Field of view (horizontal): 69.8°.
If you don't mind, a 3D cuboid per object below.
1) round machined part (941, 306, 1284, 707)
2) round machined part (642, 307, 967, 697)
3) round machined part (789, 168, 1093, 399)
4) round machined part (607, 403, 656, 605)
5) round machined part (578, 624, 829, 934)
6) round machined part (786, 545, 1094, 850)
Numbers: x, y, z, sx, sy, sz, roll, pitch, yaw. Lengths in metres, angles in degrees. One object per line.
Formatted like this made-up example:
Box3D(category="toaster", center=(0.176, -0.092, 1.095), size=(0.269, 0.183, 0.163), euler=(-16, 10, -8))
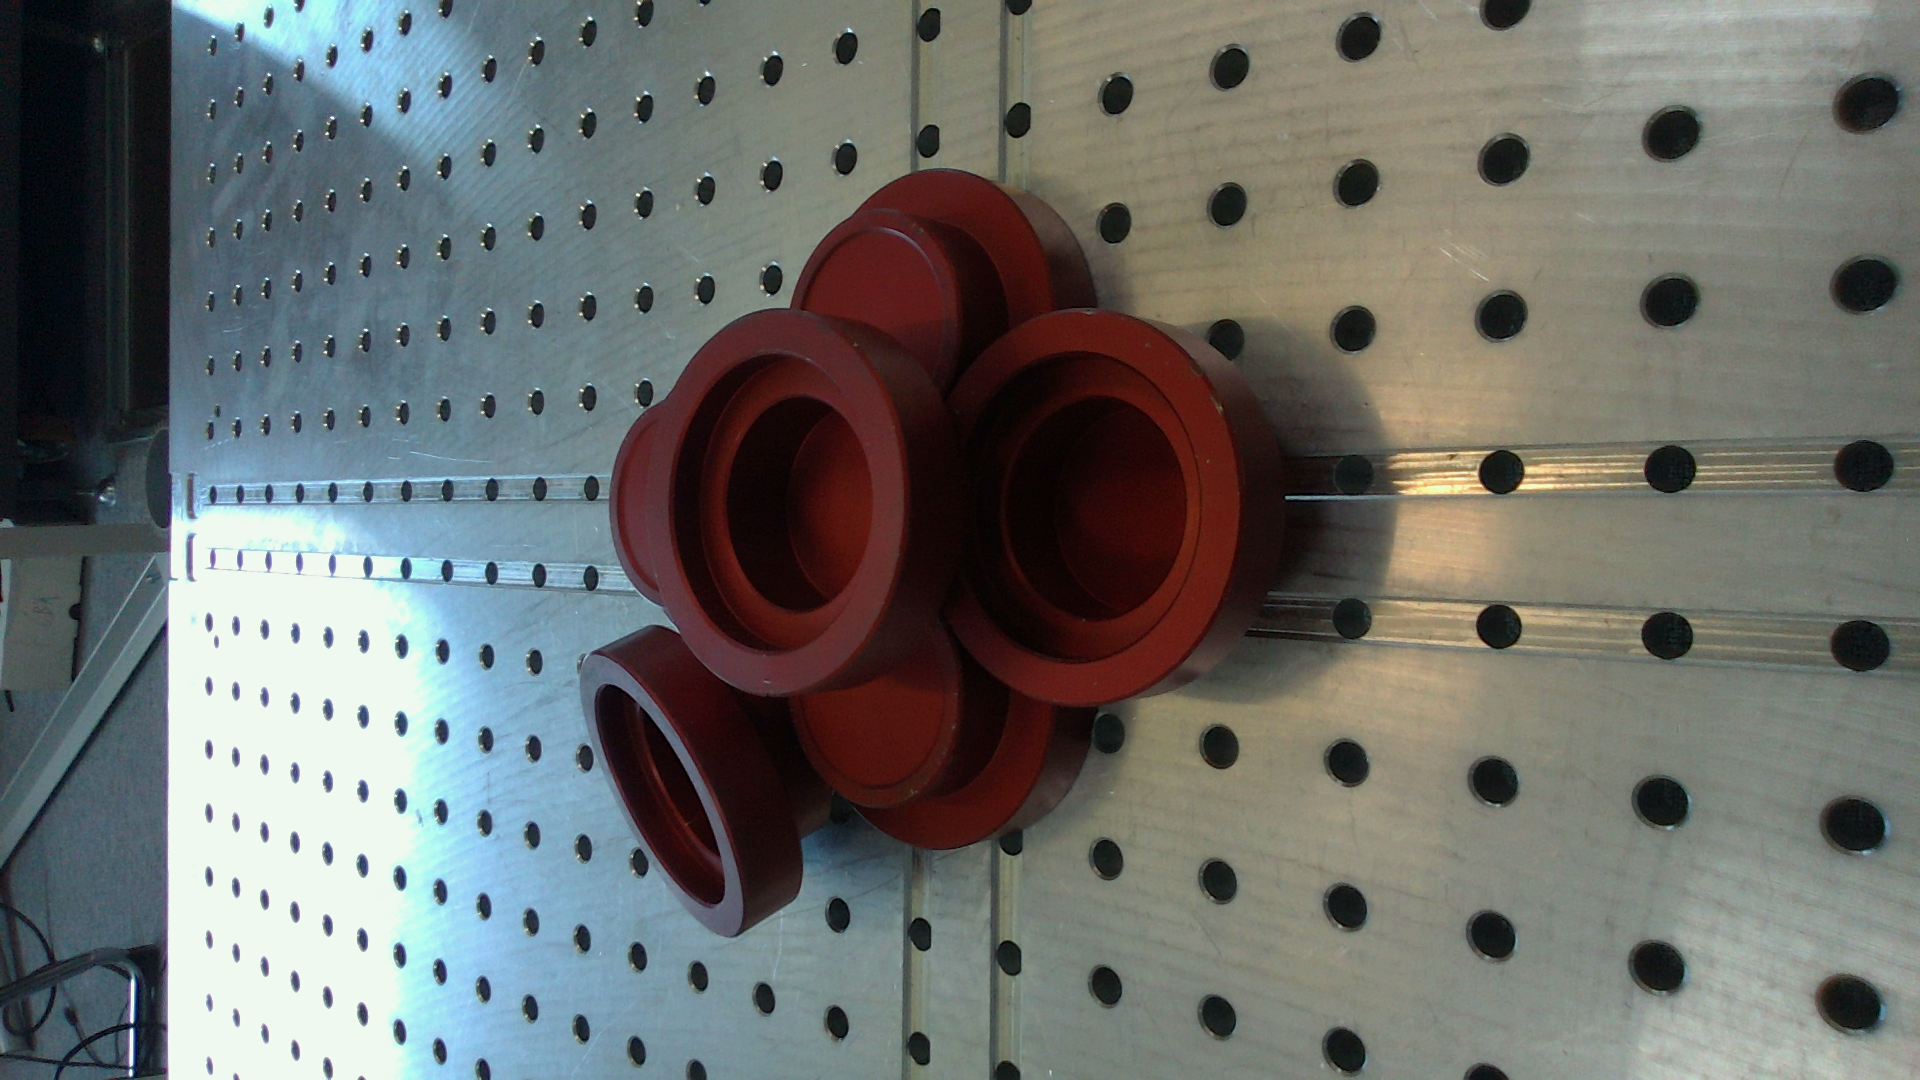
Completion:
Box3D(category="round machined part", center=(0.039, -0.008, 0.353), size=(0.098, 0.042, 0.098), euler=(0, 90, 40))
Box3D(category="round machined part", center=(-0.037, -0.009, 0.362), size=(0.098, 0.042, 0.098), euler=(0, 90, 40))
Box3D(category="round machined part", center=(-0.013, -0.058, 0.398), size=(0.098, 0.042, 0.098), euler=(0, 90, 40))
Box3D(category="round machined part", center=(-0.079, -0.012, 0.453), size=(0.098, 0.042, 0.098), euler=(0, 90, 40))
Box3D(category="round machined part", center=(-0.078, 0.071, 0.435), size=(0.098, 0.042, 0.098), euler=(34, 137, 38))
Box3D(category="round machined part", center=(-0.013, 0.040, 0.397), size=(0.098, 0.042, 0.098), euler=(0, 90, 40))
